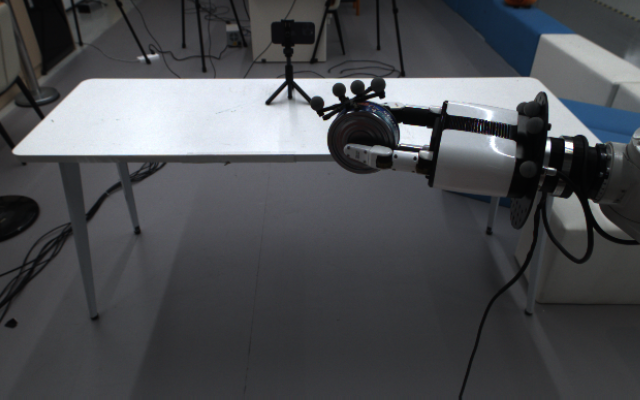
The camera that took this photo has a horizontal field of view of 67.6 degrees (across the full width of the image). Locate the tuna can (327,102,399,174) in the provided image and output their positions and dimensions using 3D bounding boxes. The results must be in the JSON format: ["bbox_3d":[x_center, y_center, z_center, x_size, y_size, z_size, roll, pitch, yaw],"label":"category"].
[{"bbox_3d":[0.057,-0.070,0.593,0.085,0.085,0.034,11,34,13],"label":"tuna can"}]
